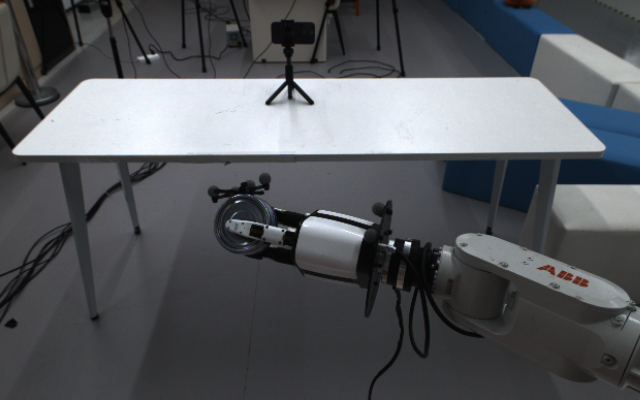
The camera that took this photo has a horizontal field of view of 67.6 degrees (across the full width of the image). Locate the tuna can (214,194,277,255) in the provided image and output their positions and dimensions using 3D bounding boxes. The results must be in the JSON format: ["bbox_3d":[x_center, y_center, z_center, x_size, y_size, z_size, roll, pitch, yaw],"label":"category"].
[{"bbox_3d":[-0.102,0.041,0.681,0.085,0.085,0.034,12,-6,14],"label":"tuna can"}]
